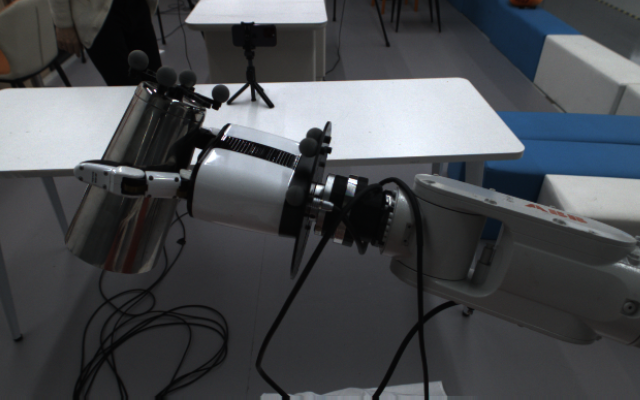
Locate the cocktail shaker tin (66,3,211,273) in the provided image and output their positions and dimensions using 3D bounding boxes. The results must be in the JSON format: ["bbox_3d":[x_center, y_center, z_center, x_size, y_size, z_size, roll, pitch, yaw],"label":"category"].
[{"bbox_3d":[-0.172,-0.025,0.476,0.093,0.170,0.093,24,12,-6],"label":"cocktail shaker tin"}]
